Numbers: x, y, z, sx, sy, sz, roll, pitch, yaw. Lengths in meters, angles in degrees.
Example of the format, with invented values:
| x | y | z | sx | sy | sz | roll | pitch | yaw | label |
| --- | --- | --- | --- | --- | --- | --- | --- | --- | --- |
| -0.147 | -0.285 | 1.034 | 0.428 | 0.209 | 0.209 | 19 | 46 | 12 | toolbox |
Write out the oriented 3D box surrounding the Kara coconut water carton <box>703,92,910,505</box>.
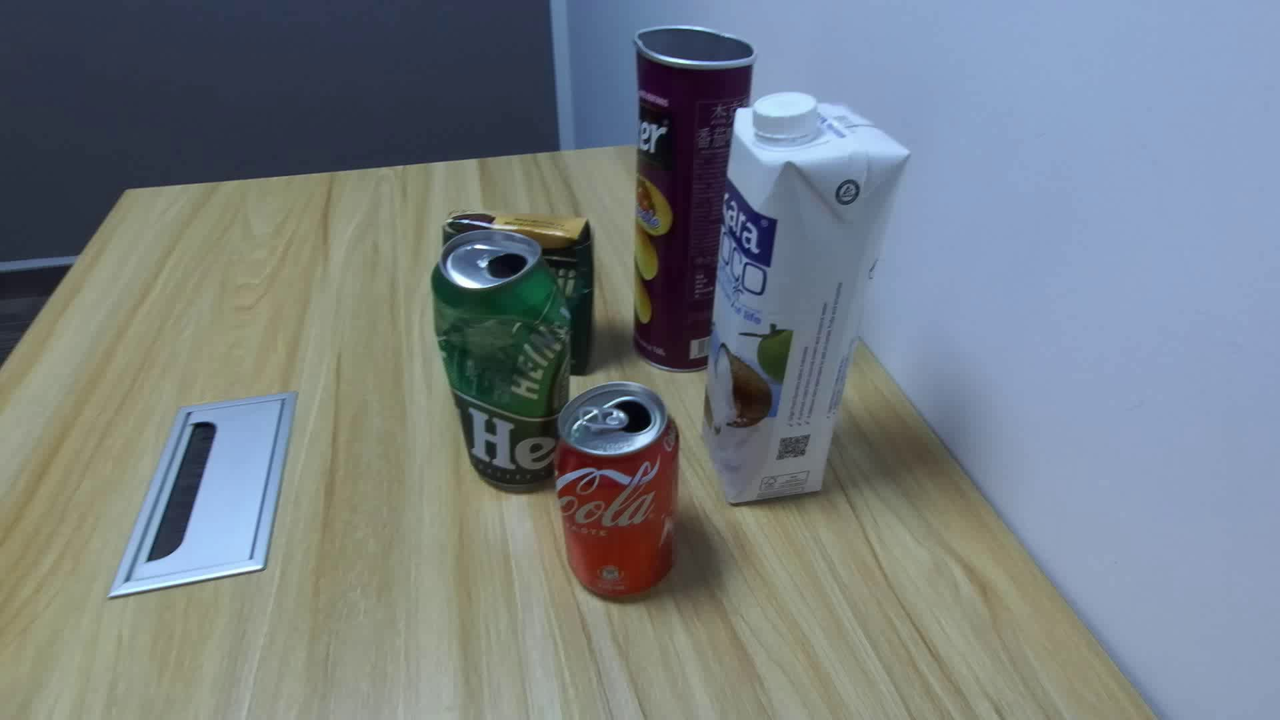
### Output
| x | y | z | sx | sy | sz | roll | pitch | yaw | label |
| --- | --- | --- | --- | --- | --- | --- | --- | --- | --- |
| 0.083 | -0.026 | 0.401 | 0.075 | 0.245 | 0.077 | -7 | 39 | -11 | Kara coconut water carton |

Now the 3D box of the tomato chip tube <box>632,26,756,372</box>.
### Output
| x | y | z | sx | sy | sz | roll | pitch | yaw | label |
| --- | --- | --- | --- | --- | --- | --- | --- | --- | --- |
| 0.033 | -0.103 | 0.504 | 0.076 | 0.234 | 0.080 | 1 | 39 | 1 | tomato chip tube |

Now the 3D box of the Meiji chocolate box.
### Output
| x | y | z | sx | sy | sz | roll | pitch | yaw | label |
| --- | --- | --- | --- | --- | --- | --- | --- | --- | --- |
| -0.093 | -0.052 | 0.541 | 0.113 | 0.111 | 0.058 | 2 | 28 | 3 | Meiji chocolate box |

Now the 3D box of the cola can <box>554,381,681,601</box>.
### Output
| x | y | z | sx | sy | sz | roll | pitch | yaw | label |
| --- | --- | --- | --- | --- | --- | --- | --- | --- | --- |
| -0.011 | 0.073 | 0.385 | 0.065 | 0.117 | 0.072 | 21 | 43 | 22 | cola can |

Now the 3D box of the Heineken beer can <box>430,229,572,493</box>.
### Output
| x | y | z | sx | sy | sz | roll | pitch | yaw | label |
| --- | --- | --- | --- | --- | --- | --- | --- | --- | --- |
| -0.082 | 0.004 | 0.431 | 0.066 | 0.164 | 0.077 | -17 | 45 | -20 | Heineken beer can |
